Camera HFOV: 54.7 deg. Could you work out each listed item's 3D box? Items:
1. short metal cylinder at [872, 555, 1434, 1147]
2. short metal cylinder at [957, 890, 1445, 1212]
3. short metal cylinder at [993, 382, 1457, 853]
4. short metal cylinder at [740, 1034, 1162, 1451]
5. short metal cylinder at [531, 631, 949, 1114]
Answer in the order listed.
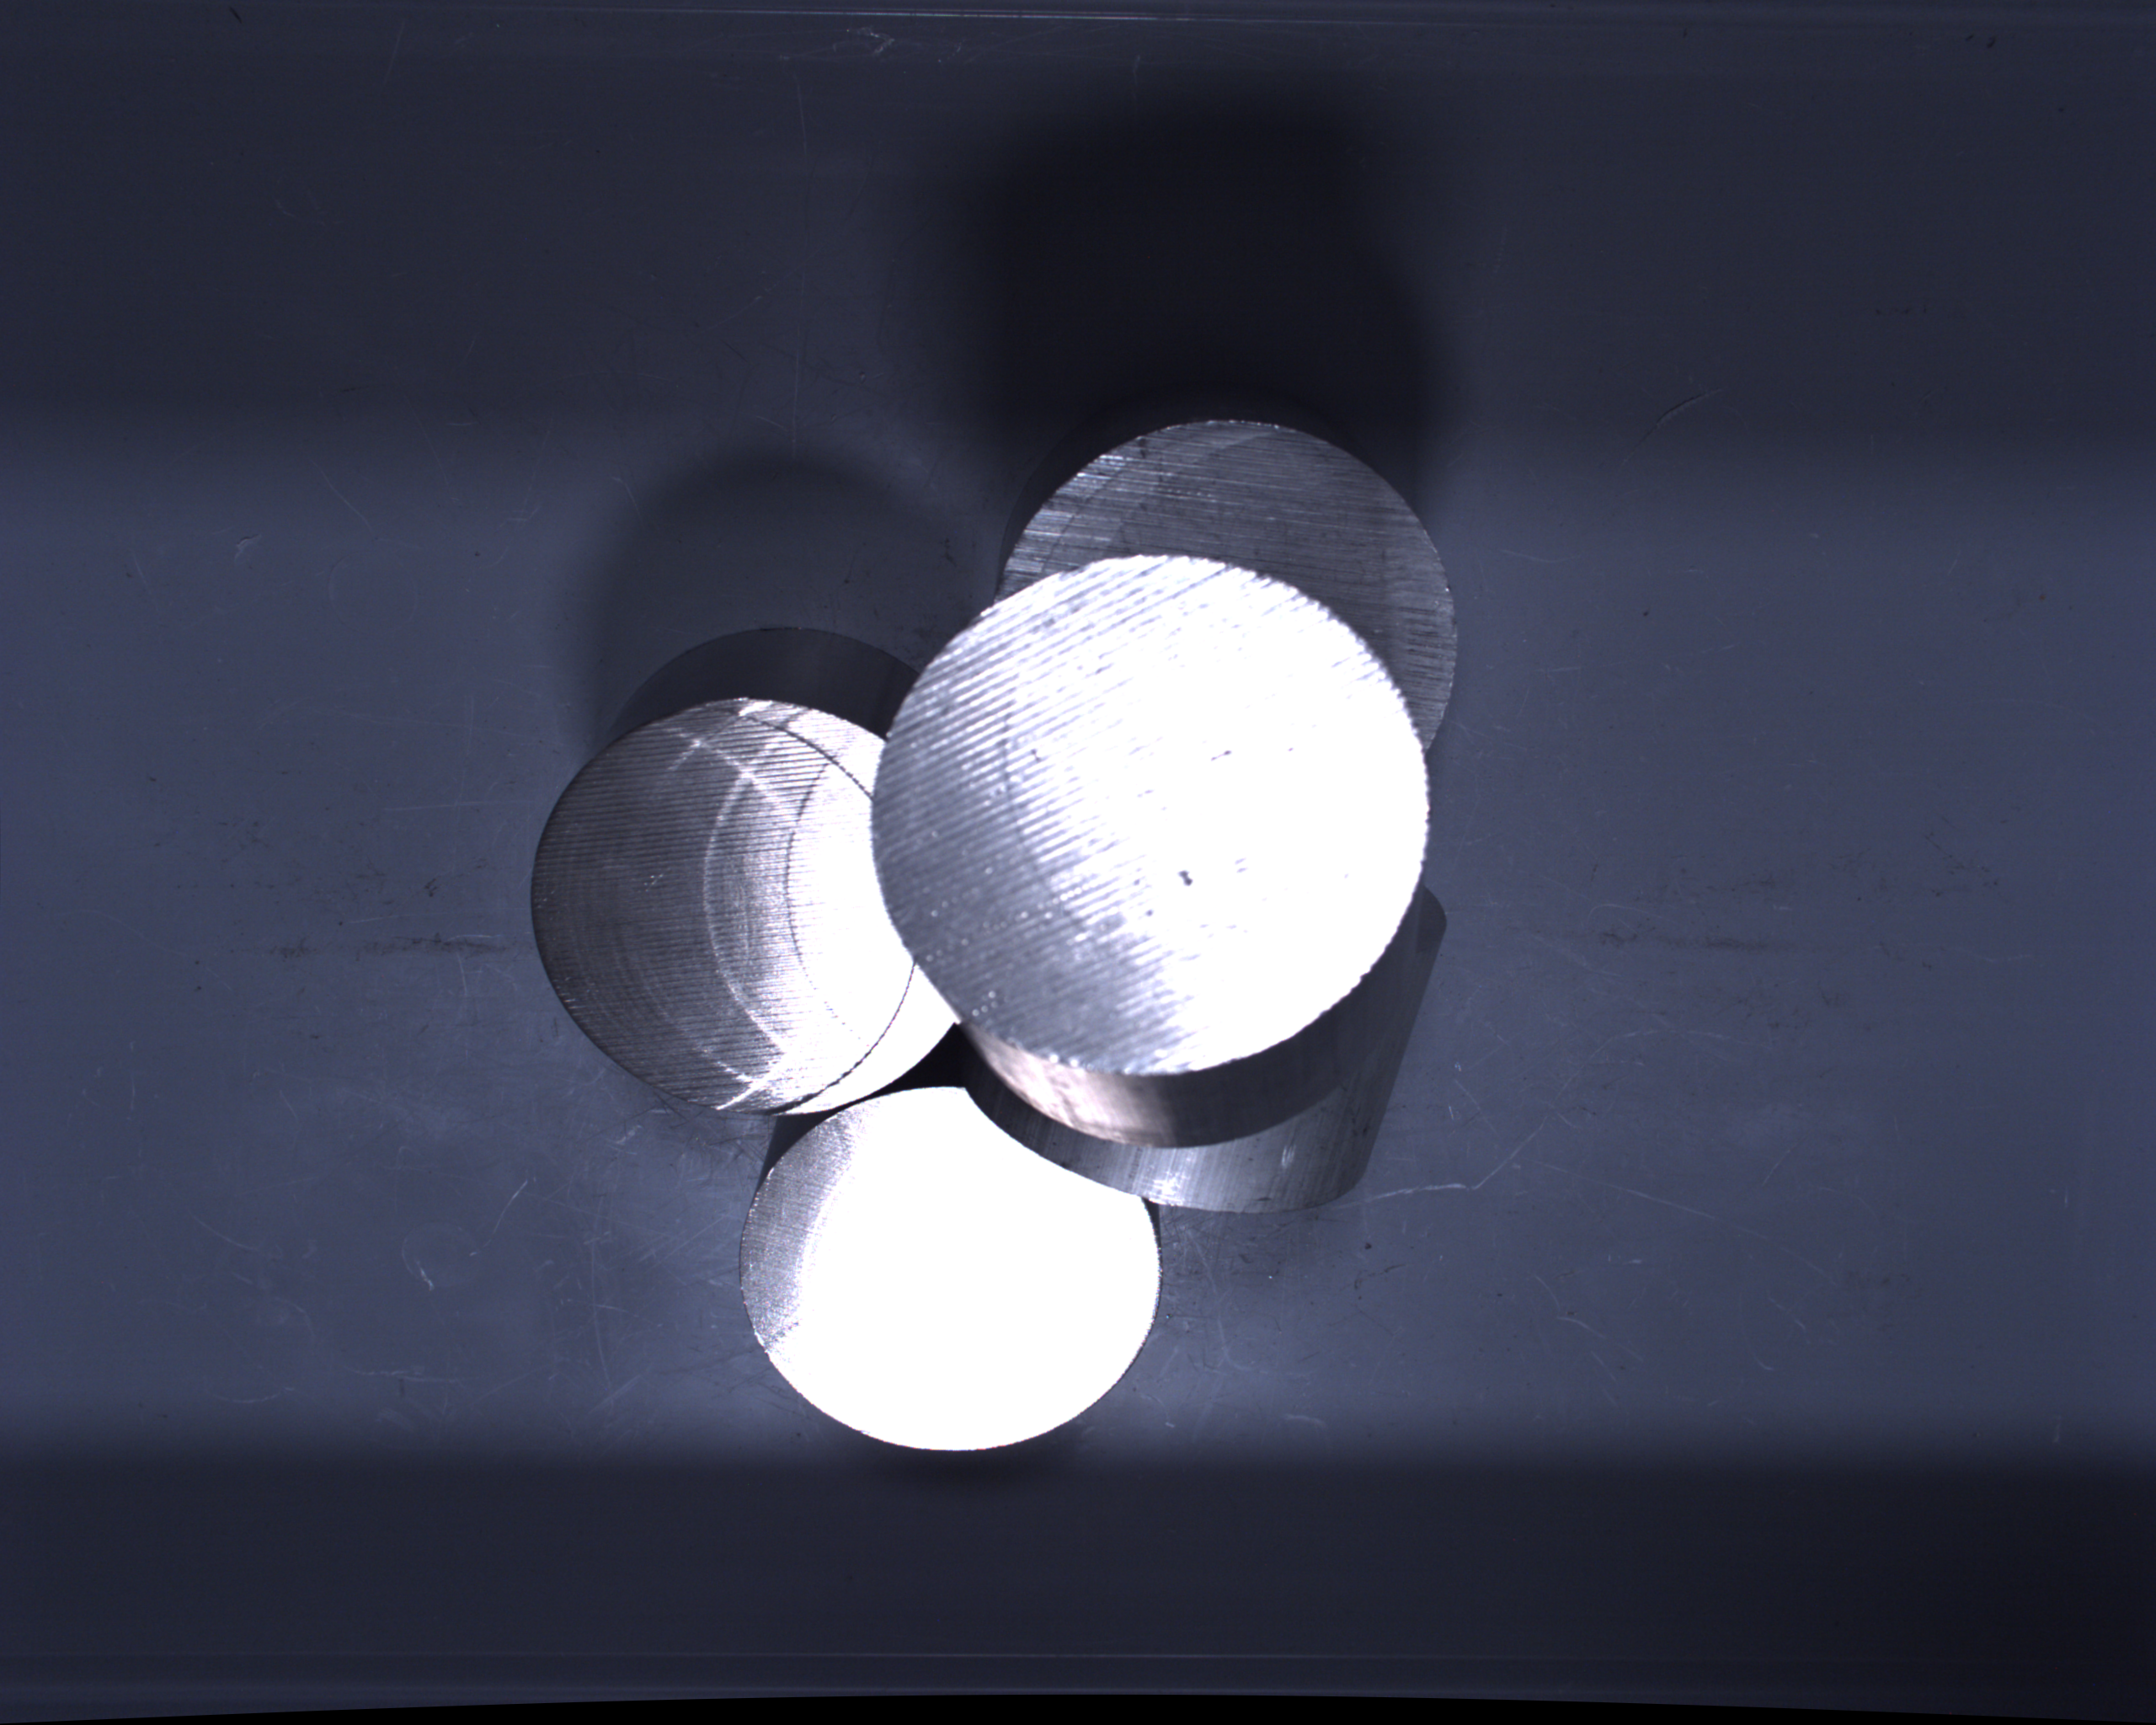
[{"bbox_3d":[0.013,0.000,0.322,0.080,0.050,0.080,-2,70,6],"label":"short metal cylinder"},{"bbox_3d":[0.022,0.022,0.390,0.081,0.080,0.050,13,110,-5],"label":"short metal cylinder"},{"bbox_3d":[0.025,-0.044,0.380,0.081,0.050,0.079,0,110,-1],"label":"short metal cylinder"},{"bbox_3d":[-0.024,0.070,0.421,0.081,0.050,0.079,0,110,-1],"label":"short metal cylinder"},{"bbox_3d":[-0.057,0.001,0.395,0.081,0.050,0.079,0,110,-1],"label":"short metal cylinder"}]
